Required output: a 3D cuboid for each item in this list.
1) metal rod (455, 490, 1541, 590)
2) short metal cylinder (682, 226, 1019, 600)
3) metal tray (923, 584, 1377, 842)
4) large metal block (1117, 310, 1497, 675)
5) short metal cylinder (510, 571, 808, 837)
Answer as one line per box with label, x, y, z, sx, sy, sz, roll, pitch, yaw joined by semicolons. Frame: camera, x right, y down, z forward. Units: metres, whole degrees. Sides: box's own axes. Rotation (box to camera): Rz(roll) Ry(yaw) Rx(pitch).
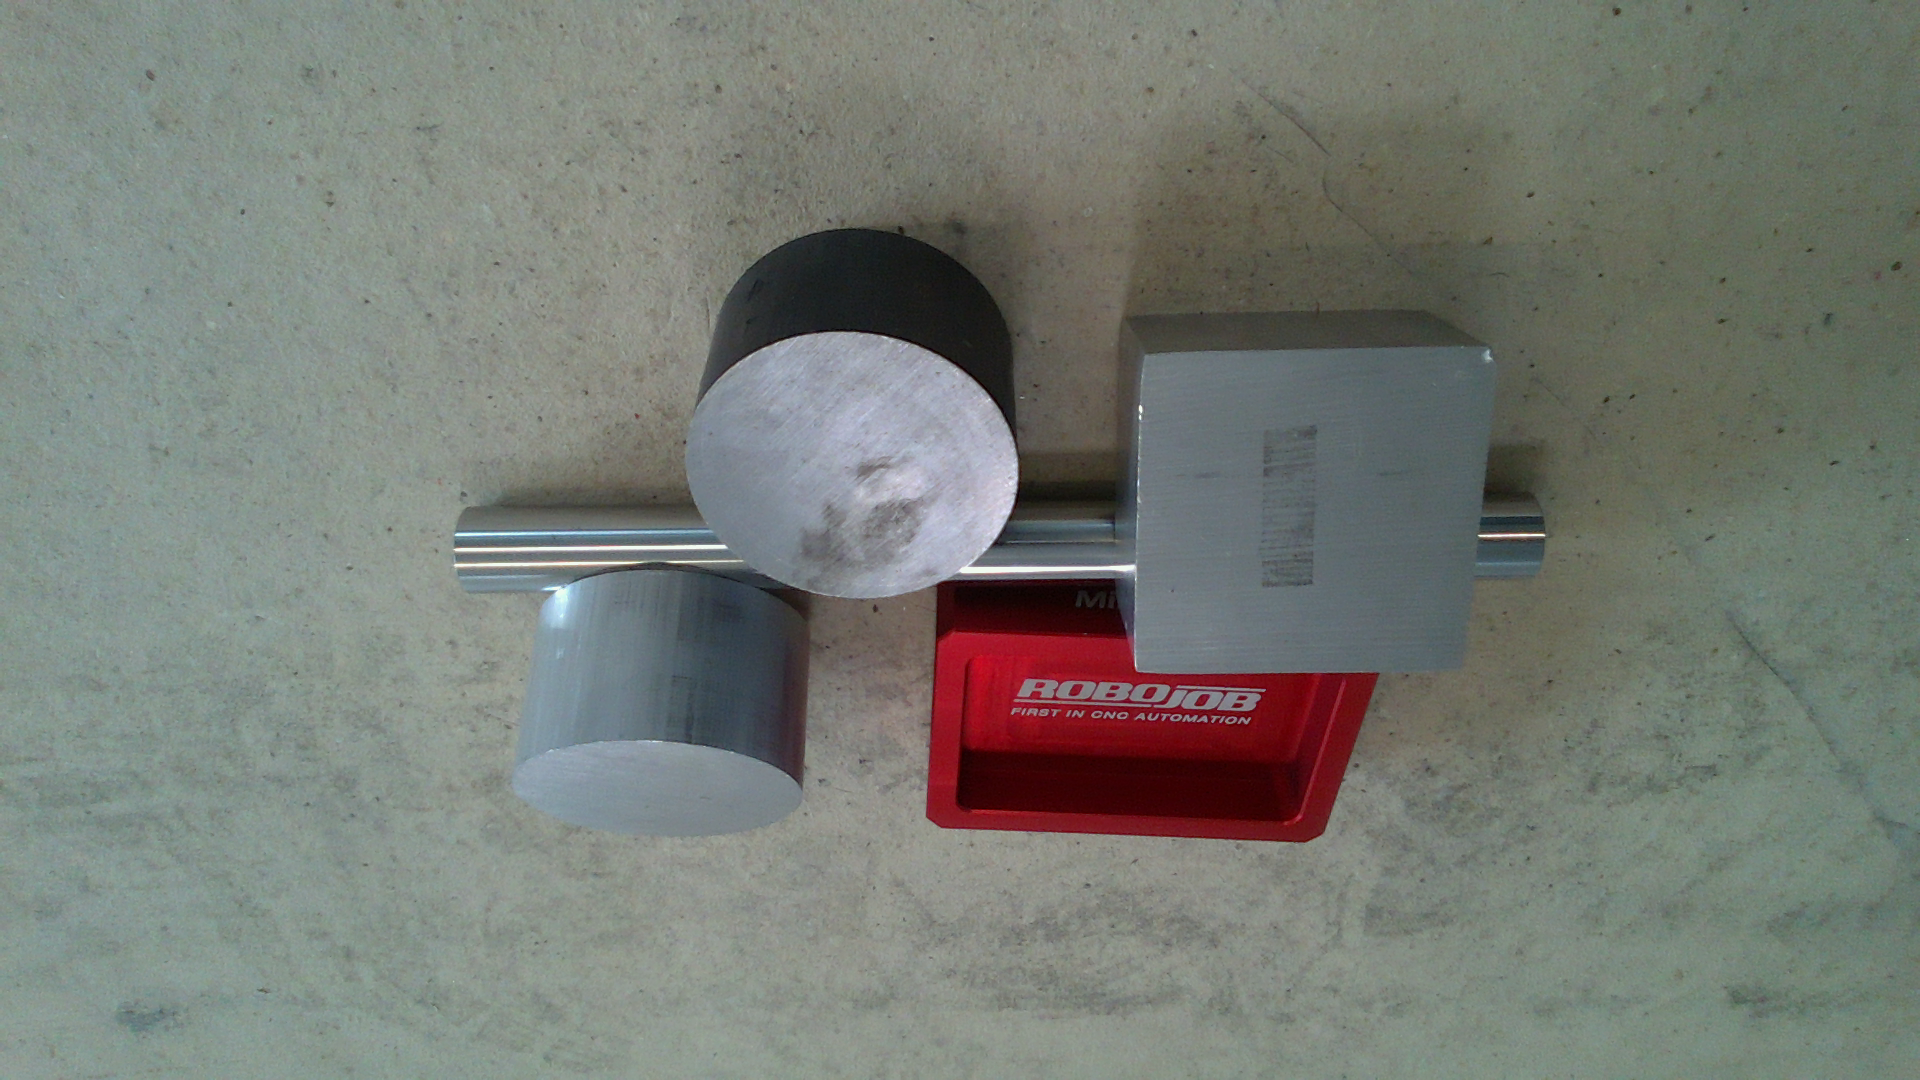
metal rod;0.010;0.000;0.392;0.300;0.025;0.025;-1;130;0
short metal cylinder;-0.026;-0.031;0.348;0.080;0.050;0.080;0;130;0
metal tray;0.055;0.053;0.432;0.130;0.030;0.090;2;130;-2
large metal block;0.082;-0.013;0.347;0.080;0.050;0.080;-1;109;0
short metal cylinder;-0.085;0.050;0.400;0.080;0.050;0.080;-1;151;0
